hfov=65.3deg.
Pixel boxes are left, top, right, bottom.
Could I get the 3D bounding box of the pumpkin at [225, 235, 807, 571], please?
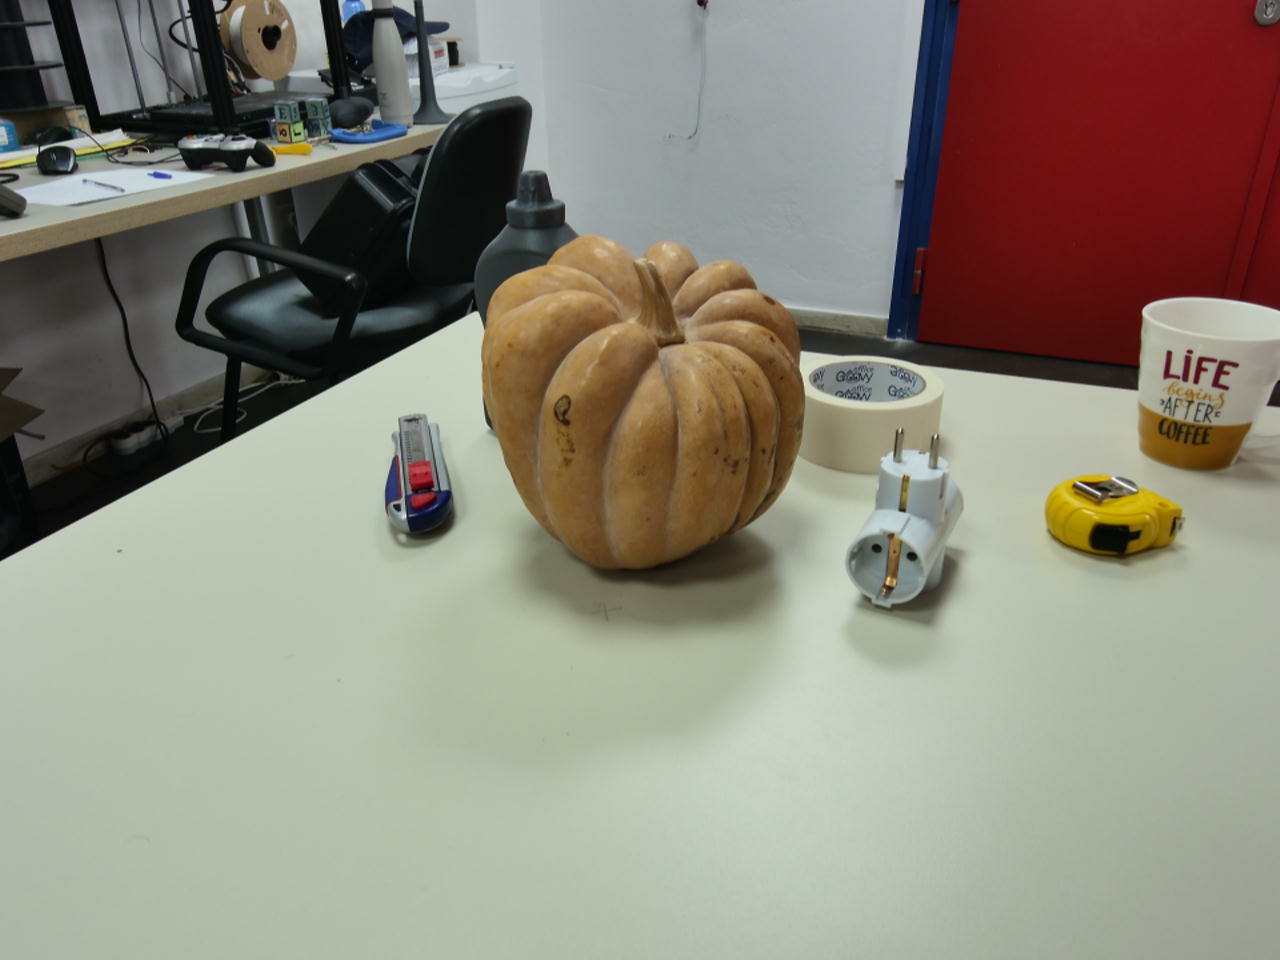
[{"bbox_3d":[0.001,-0.045,0.583,0.199,0.177,0.198,0,25,0],"label":"pumpkin"}]
